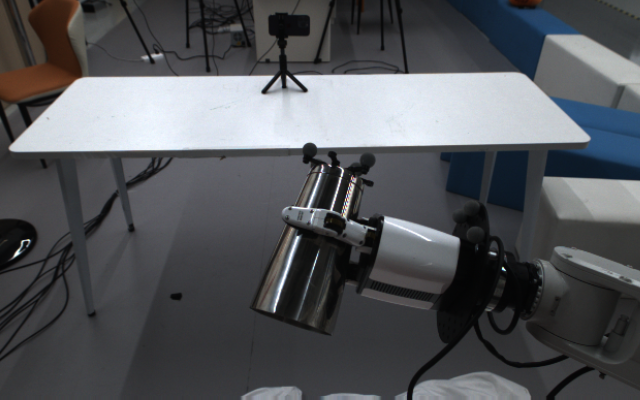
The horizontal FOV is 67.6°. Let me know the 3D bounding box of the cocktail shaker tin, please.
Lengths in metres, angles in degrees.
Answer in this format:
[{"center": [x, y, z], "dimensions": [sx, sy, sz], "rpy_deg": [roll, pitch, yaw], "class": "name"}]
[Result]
[{"center": [-0.006, 0.050, 0.529], "dimensions": [0.093, 0.093, 0.170], "rpy_deg": [13, 70, 15], "class": "cocktail shaker tin"}]
